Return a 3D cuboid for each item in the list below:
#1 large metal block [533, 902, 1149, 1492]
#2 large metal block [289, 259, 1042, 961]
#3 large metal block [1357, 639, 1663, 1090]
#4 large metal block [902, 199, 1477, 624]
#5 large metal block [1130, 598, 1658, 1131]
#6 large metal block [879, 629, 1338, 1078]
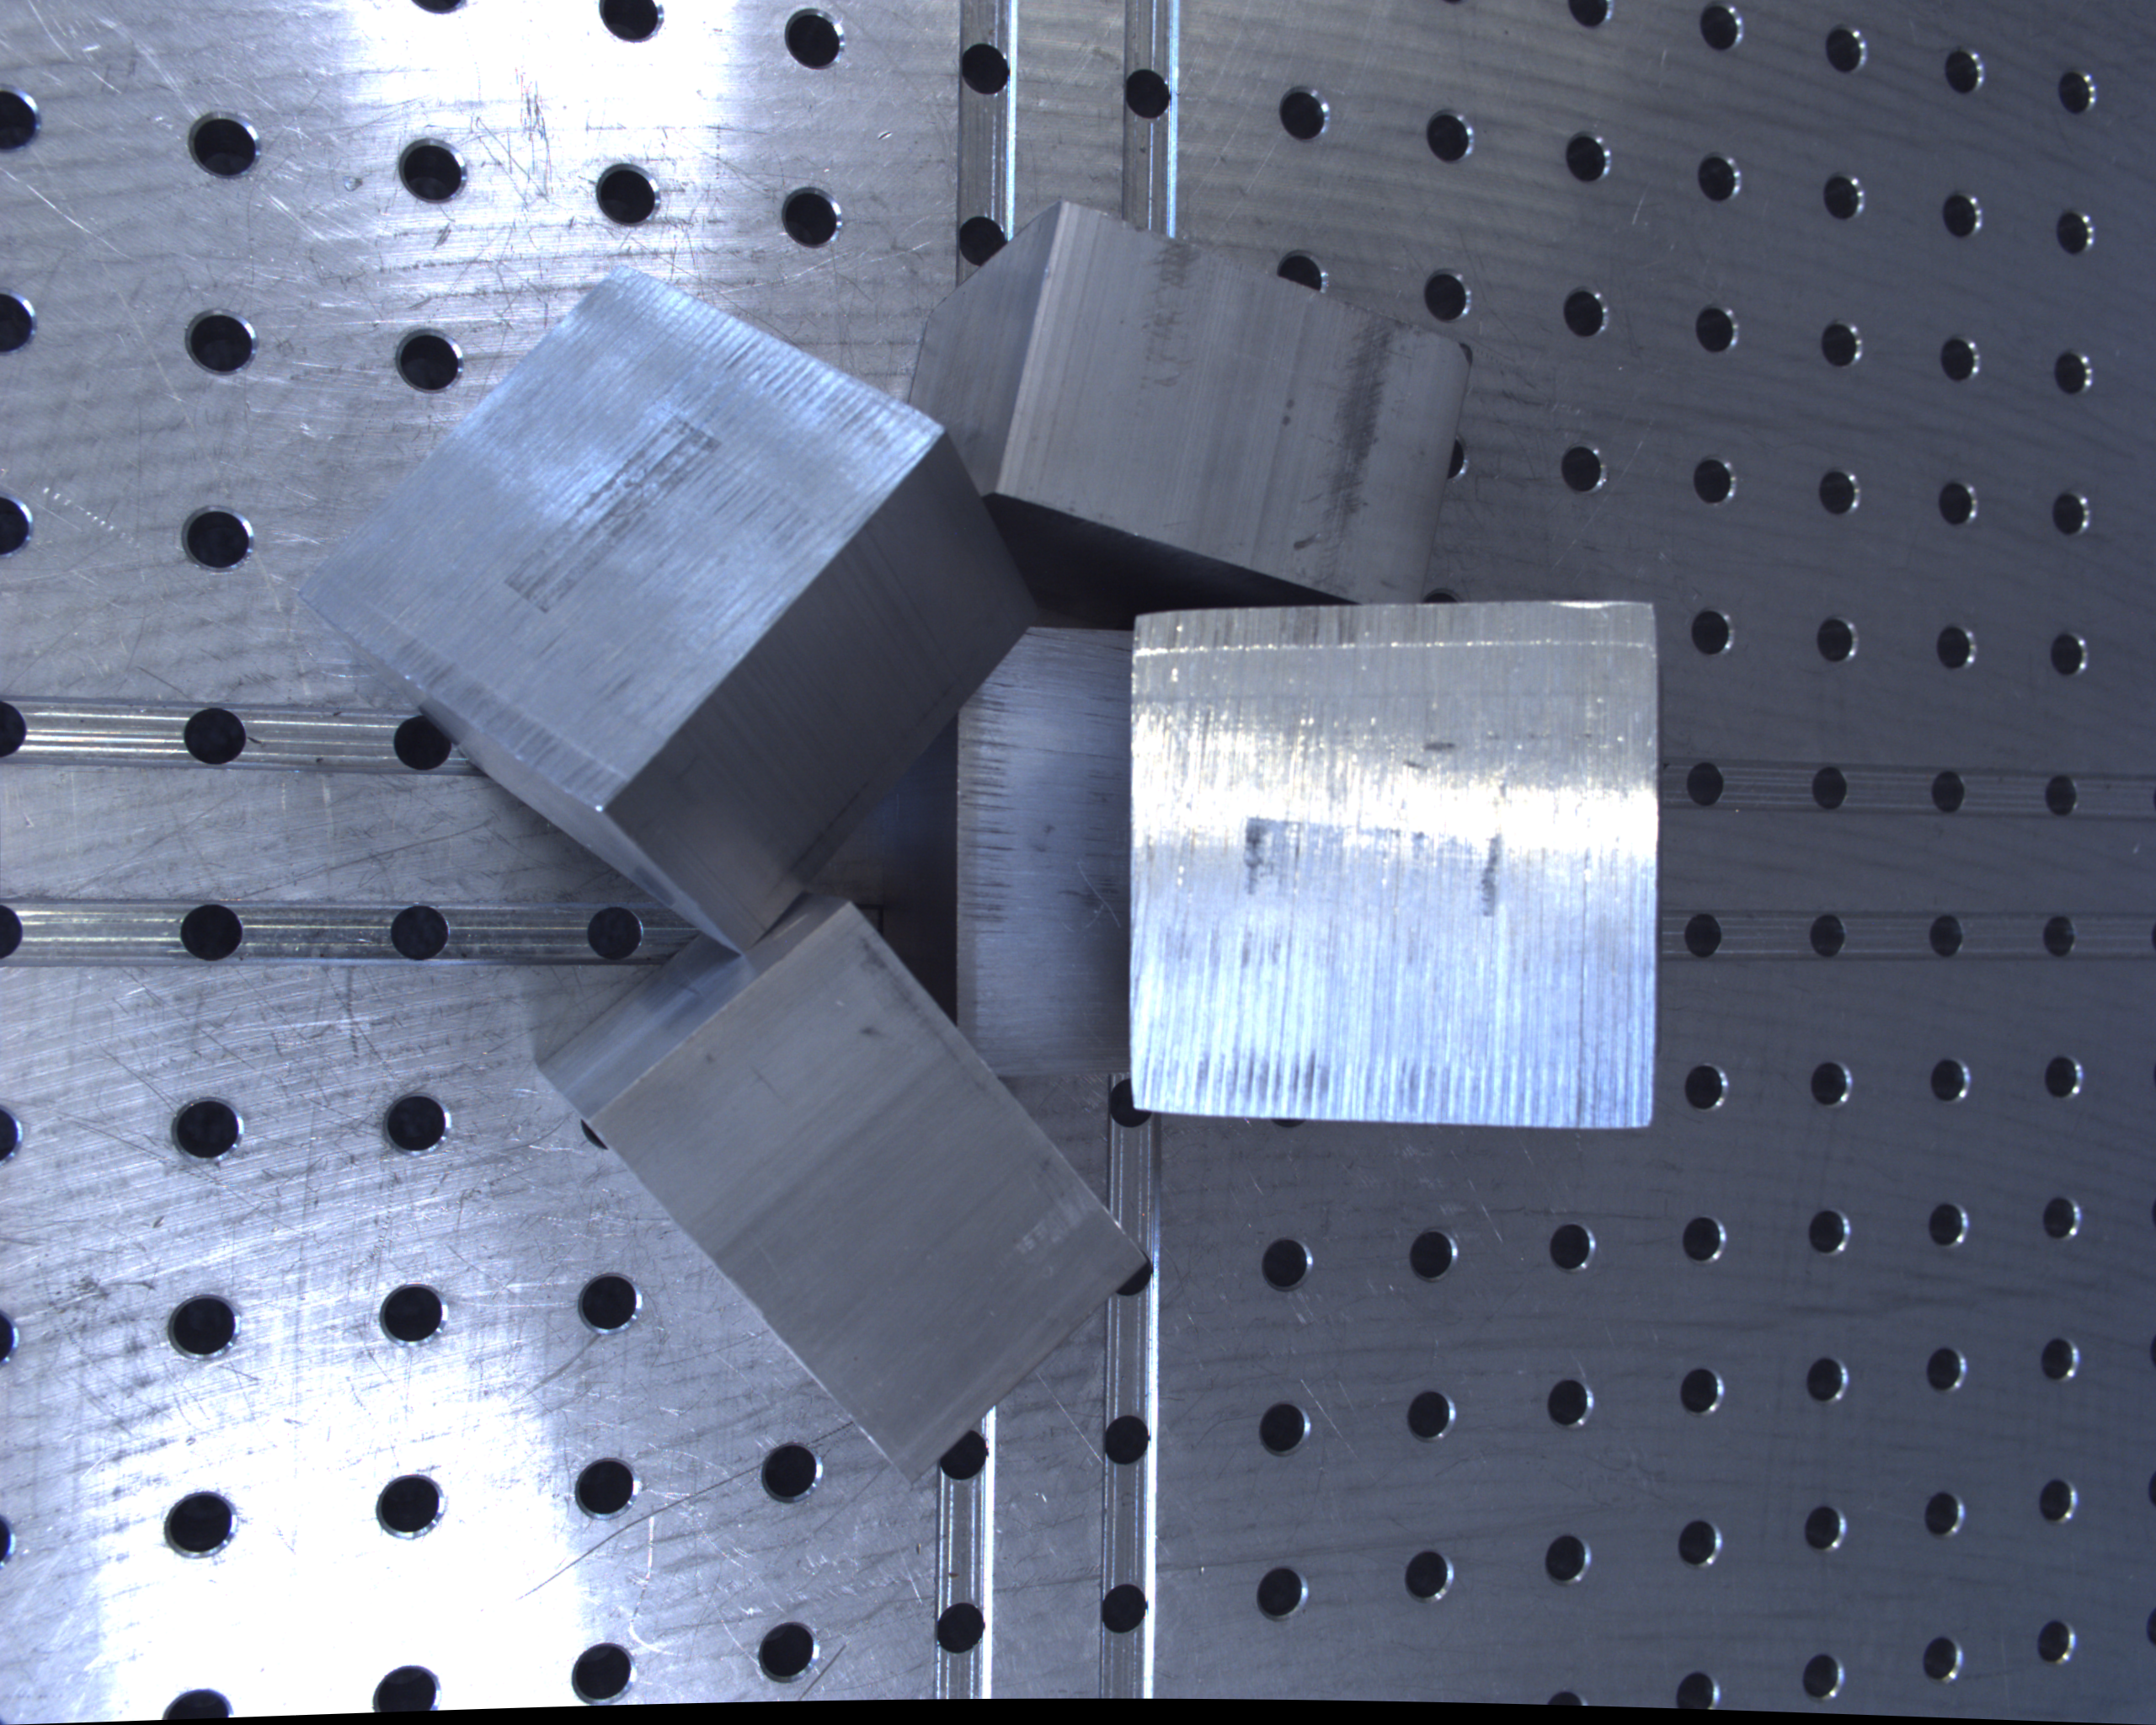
[{"bbox_3d":[-0.045,0.053,0.365,0.050,0.080,0.080,-42,104,-16],"label":"large metal block"},{"bbox_3d":[-0.068,-0.044,0.351,0.080,0.080,0.050,-51,150,-13],"label":"large metal block"},{"bbox_3d":[0.086,0.000,0.406,0.050,0.080,0.080,0,90,18],"label":"large metal block"},{"bbox_3d":[0.014,-0.075,0.389,0.081,0.080,0.050,14,85,-19],"label":"large metal block"},{"bbox_3d":[0.054,0.000,0.345,0.080,0.050,0.080,0,89,14],"label":"large metal block"},{"bbox_3d":[0.007,-0.002,0.402,0.081,0.050,0.080,1,90,-20],"label":"large metal block"}]
